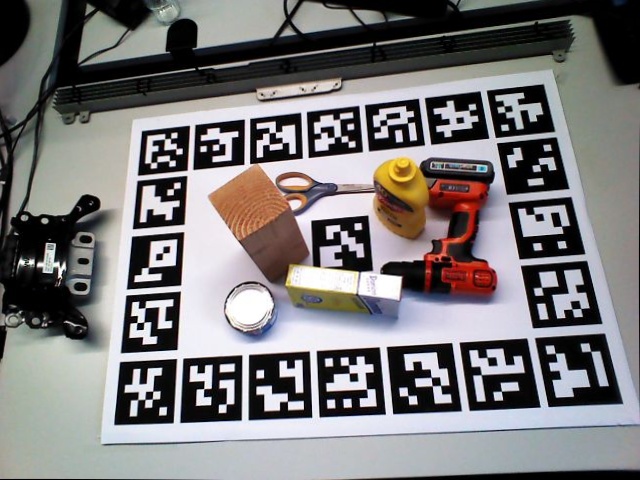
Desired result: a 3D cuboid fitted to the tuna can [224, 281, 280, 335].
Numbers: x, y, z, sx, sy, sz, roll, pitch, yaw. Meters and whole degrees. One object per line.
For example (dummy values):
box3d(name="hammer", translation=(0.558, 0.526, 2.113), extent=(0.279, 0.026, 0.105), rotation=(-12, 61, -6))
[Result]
box3d(name="tuna can", translation=(-0.110, 0.110, 0.842), extent=(0.086, 0.034, 0.085), rotation=(-2, 71, 7))

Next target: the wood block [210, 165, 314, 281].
box3d(name="wood block", translation=(-0.083, -0.019, 0.805), extent=(0.091, 0.206, 0.090), rotation=(-32, 70, -4))

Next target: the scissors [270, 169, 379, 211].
box3d(name="scissors", translation=(0.004, -0.091, 0.908), extent=(0.203, 0.016, 0.087), rotation=(-3, 67, 8))

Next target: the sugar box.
box3d(name="sugar box", translation=(0.051, 0.080, 0.802), extent=(0.177, 0.093, 0.045), rotation=(7, 68, 9))

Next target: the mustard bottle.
box3d(name="mustard bottle", translation=(0.134, -0.071, 0.798), extent=(0.058, 0.192, 0.096), rotation=(-43, 71, -7))

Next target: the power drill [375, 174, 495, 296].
box3d(name="power drill", translation=(0.191, -0.008, 0.829), extent=(0.185, 0.057, 0.186), rotation=(8, 79, 11))
